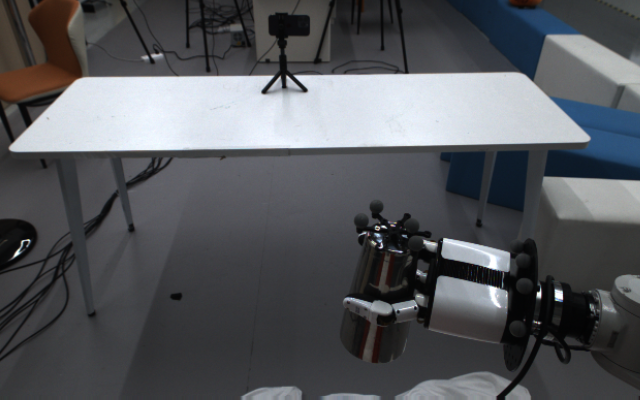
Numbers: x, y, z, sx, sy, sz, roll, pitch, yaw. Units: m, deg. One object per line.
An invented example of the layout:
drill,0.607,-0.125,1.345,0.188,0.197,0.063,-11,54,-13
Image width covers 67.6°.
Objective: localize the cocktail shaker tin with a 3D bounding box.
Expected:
cocktail shaker tin,0.080,0.115,0.621,0.093,0.170,0.093,4,32,-2
